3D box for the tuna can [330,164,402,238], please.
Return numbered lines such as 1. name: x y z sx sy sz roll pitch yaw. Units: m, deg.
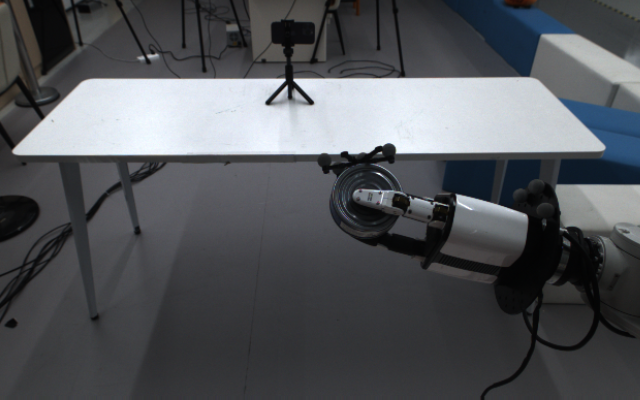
1. tuna can: 0.057 -0.001 0.571 0.085 0.034 0.085 0 72 -1
